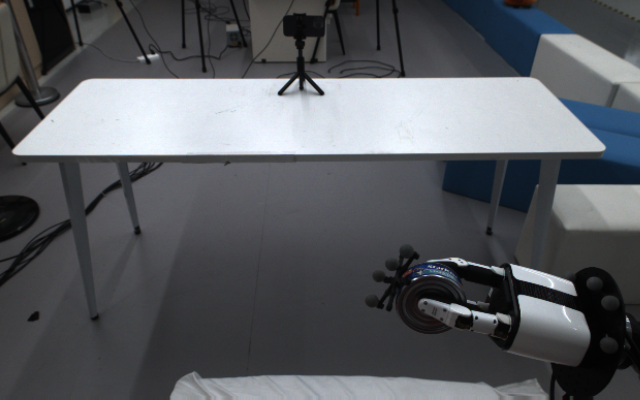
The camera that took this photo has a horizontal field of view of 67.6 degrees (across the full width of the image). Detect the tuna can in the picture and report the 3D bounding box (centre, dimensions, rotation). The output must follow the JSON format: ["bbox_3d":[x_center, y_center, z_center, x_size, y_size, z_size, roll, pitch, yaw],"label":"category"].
[{"bbox_3d":[0.138,0.117,0.598,0.085,0.085,0.034,3,20,1],"label":"tuna can"}]
